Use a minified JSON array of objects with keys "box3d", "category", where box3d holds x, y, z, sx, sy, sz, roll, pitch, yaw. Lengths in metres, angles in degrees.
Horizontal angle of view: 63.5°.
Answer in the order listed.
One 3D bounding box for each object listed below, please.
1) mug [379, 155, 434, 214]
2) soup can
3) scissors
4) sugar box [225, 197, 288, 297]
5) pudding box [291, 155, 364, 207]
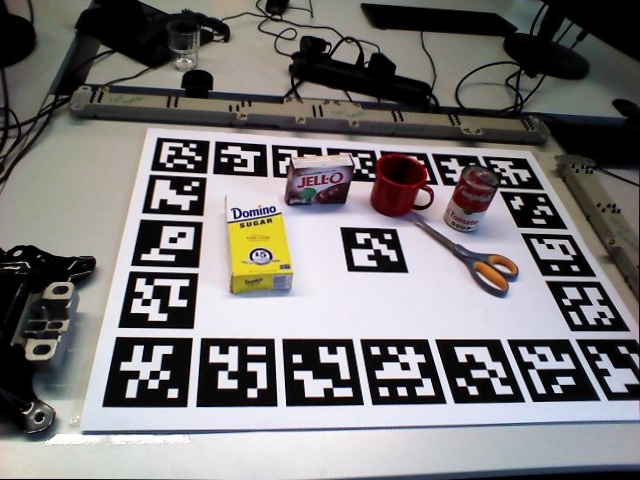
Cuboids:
[{"box3d":[0.158,-0.093,0.923,0.093,0.082,0.117,-30,58,-28],"category":"mug"},{"box3d":[0.276,-0.061,0.910,0.068,0.102,0.067,4,46,-5],"category":"soup can"},{"box3d":[0.255,0.031,0.869,0.203,0.016,0.087,39,63,23],"category":"scissors"},{"box3d":[-0.103,0.006,0.819,0.093,0.045,0.175,-1,50,-9],"category":"sugar box"},{"box3d":[0.011,-0.103,0.897,0.114,0.090,0.038,-5,56,-15],"category":"pudding box"}]
